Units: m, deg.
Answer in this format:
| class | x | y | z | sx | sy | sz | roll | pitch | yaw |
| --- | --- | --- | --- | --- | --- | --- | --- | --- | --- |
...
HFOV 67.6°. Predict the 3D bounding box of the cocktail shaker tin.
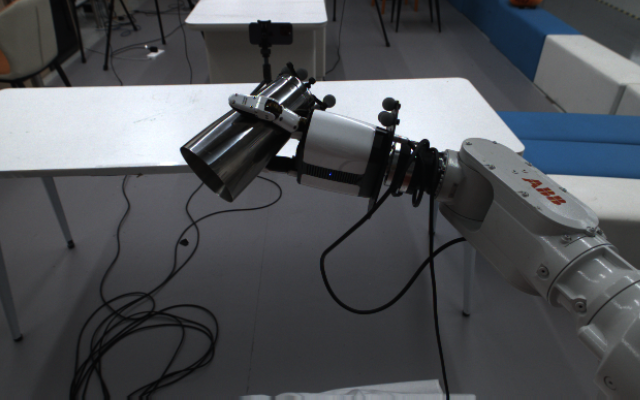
| class | x | y | z | sx | sy | sz | roll | pitch | yaw |
| --- | --- | --- | --- | --- | --- | --- | --- | --- | --- |
| cocktail shaker tin | -0.085 | -0.092 | 0.629 | 0.093 | 0.093 | 0.170 | 31 | 66 | 35 |
